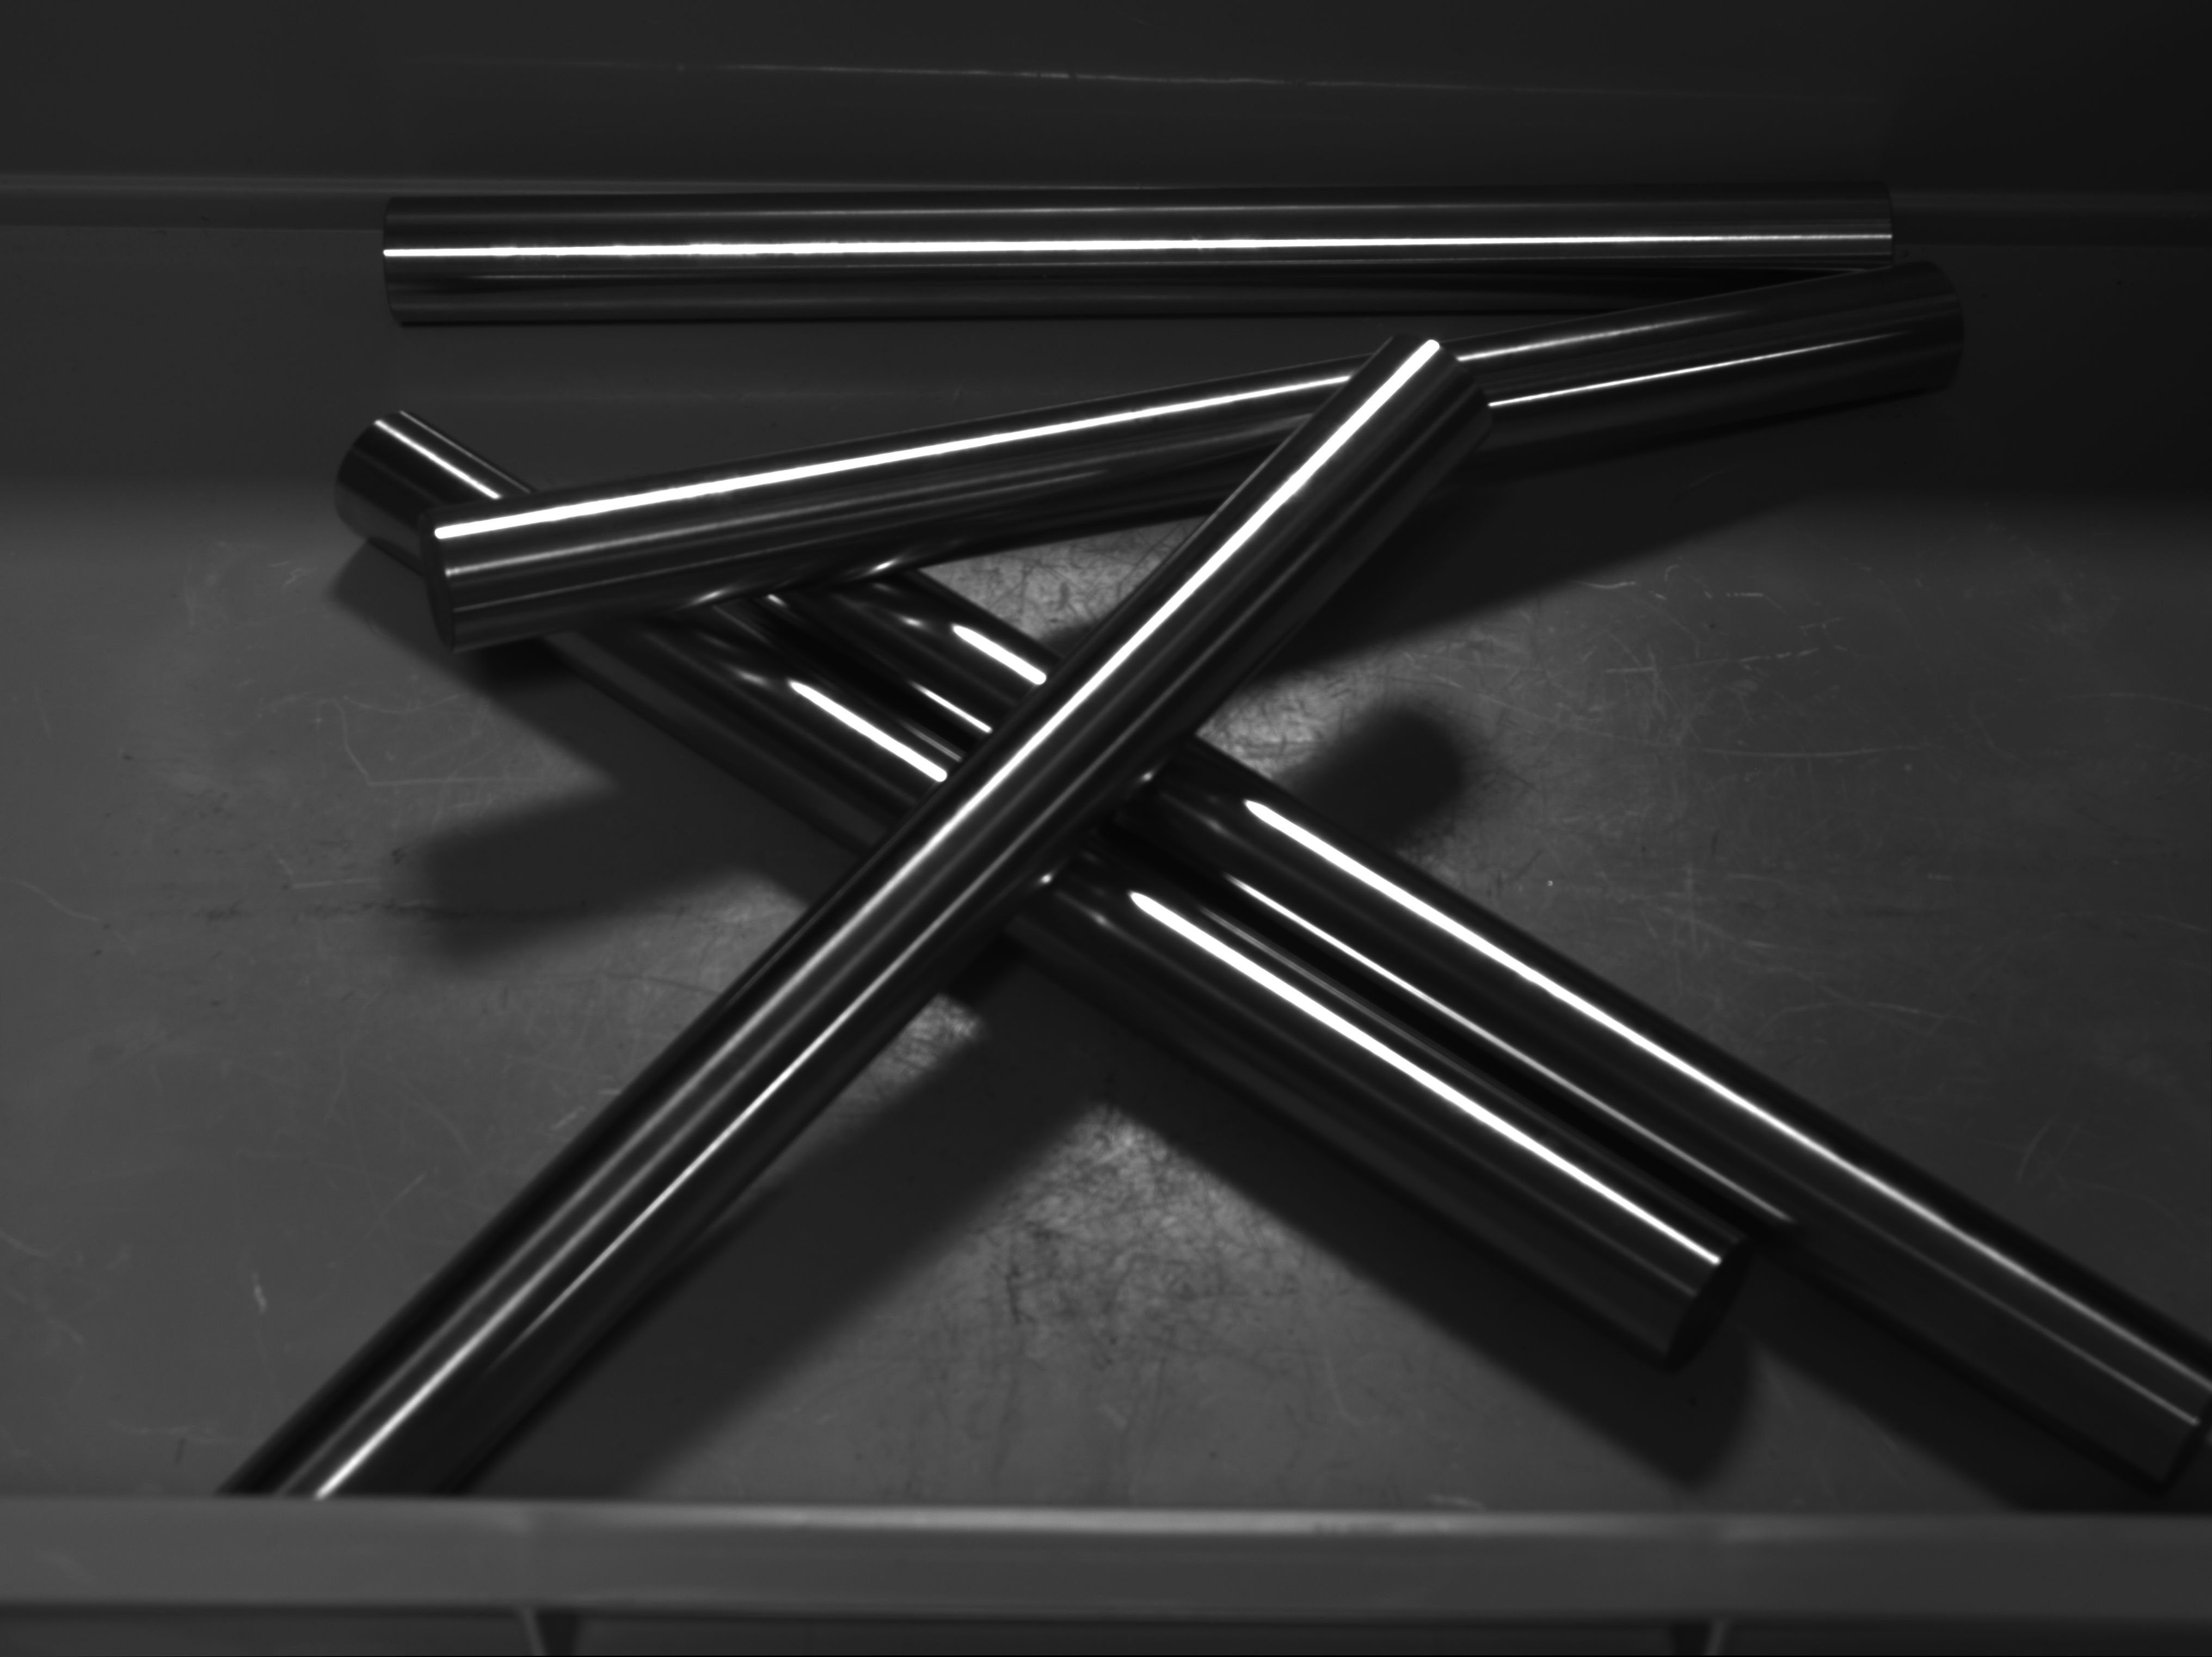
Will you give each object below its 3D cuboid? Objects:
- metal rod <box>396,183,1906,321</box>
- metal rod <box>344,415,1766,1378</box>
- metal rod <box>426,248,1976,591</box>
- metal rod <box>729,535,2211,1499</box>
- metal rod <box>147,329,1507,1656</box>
[{"bbox_3d":[0.009,-0.116,0.740,0.300,0.025,0.025,-1,50,-1],"label":"metal rod"},{"bbox_3d":[-0.019,0.004,0.638,0.299,0.025,0.025,32,57,24],"label":"metal rod"},{"bbox_3d":[0.024,-0.079,0.688,0.300,0.025,0.025,-10,50,-16],"label":"metal rod"},{"bbox_3d":[0.055,0.021,0.624,0.299,0.025,0.025,32,57,24],"label":"metal rod"},{"bbox_3d":[-0.036,0.020,0.598,0.025,0.025,0.300,33,65,25],"label":"metal rod"}]
